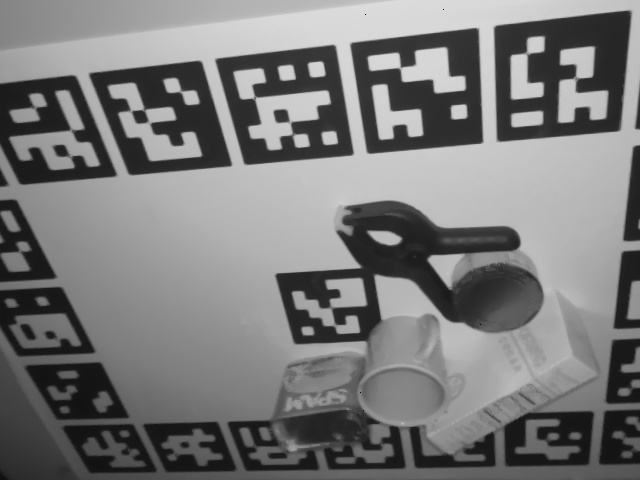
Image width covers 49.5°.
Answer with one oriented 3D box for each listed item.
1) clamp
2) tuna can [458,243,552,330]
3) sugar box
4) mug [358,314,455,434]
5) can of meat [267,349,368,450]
[{"bbox_3d":[0.090,0.000,0.650,0.165,0.037,0.120,27,127,-6],"label":"clamp"},{"bbox_3d":[0.175,0.042,0.662,0.085,0.034,0.085,3,122,5],"label":"tuna can"},{"bbox_3d":[0.184,0.127,0.689,0.045,0.094,0.174,39,121,-19],"label":"sugar box"},{"bbox_3d":[0.091,0.124,0.694,0.093,0.082,0.115,17,122,-3],"label":"mug"},{"bbox_3d":[0.002,0.169,0.743,0.101,0.084,0.057,-11,123,16],"label":"can of meat"}]
